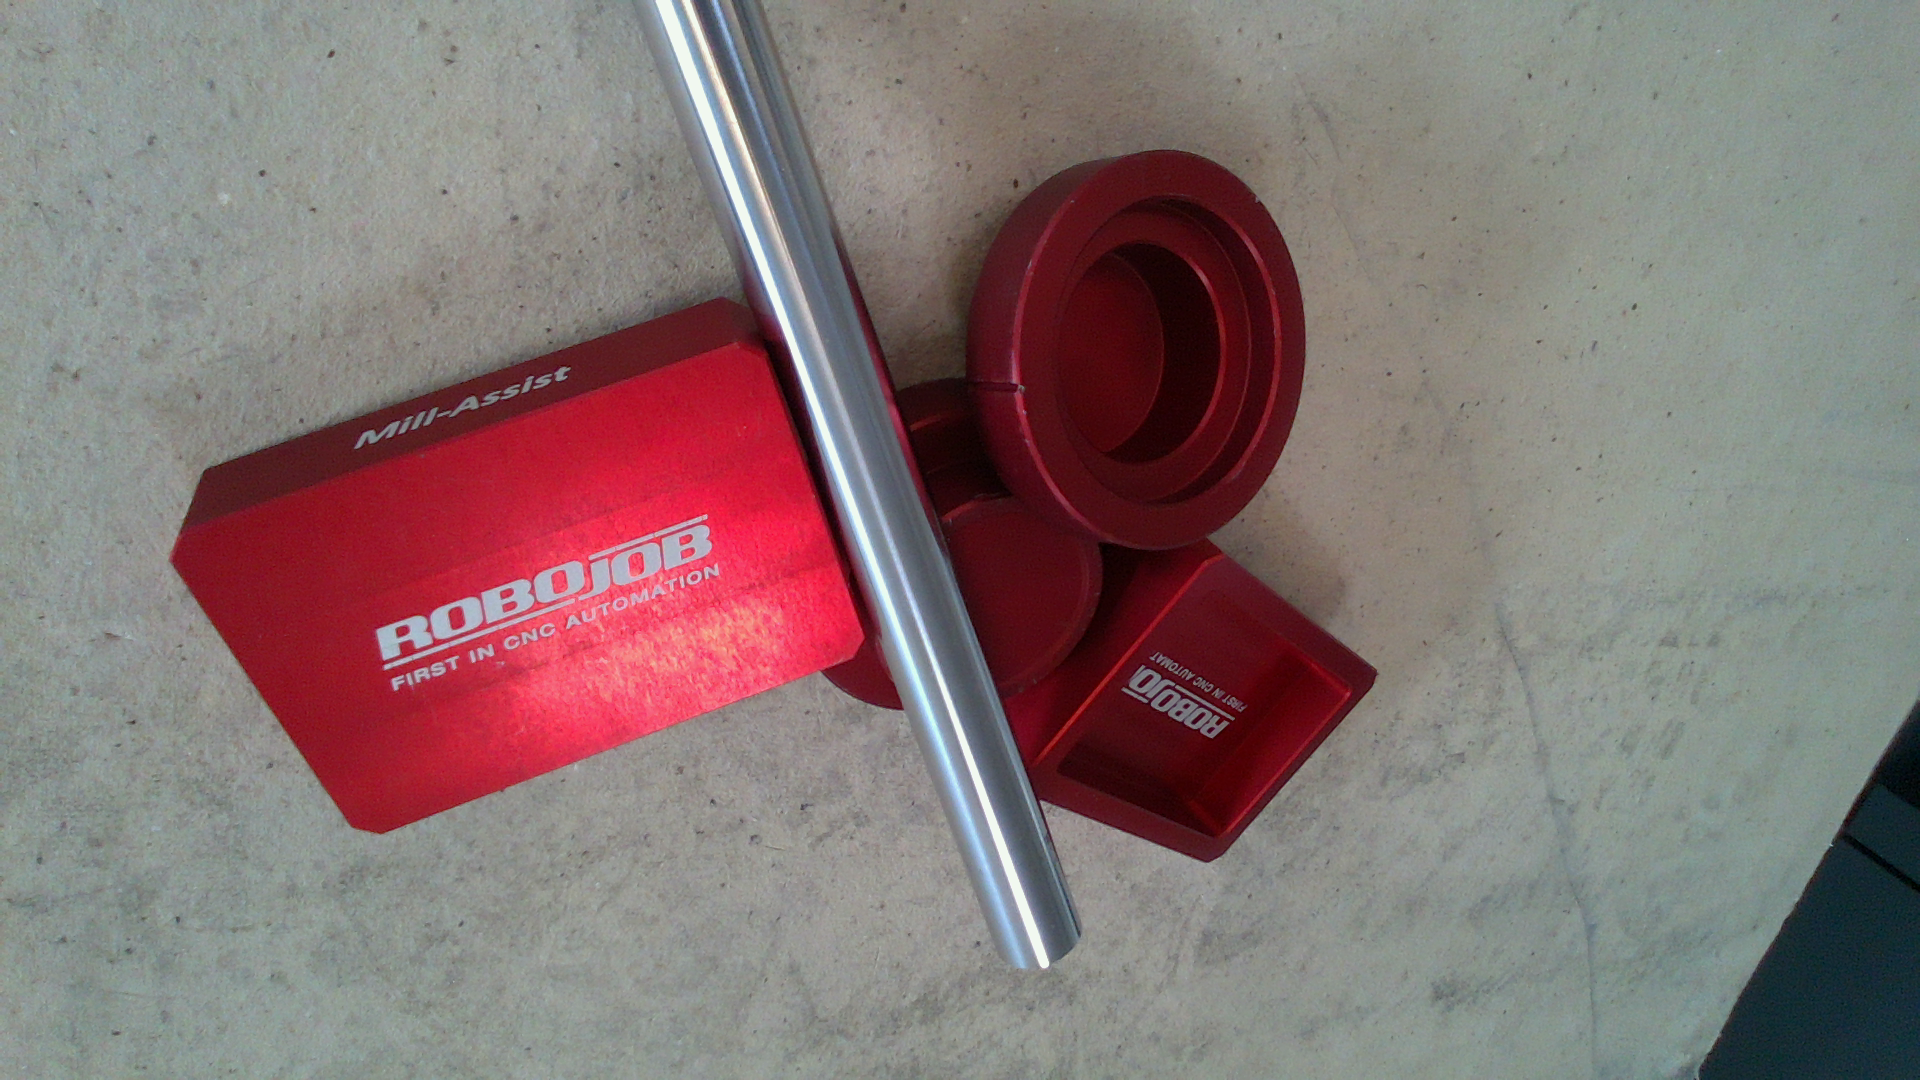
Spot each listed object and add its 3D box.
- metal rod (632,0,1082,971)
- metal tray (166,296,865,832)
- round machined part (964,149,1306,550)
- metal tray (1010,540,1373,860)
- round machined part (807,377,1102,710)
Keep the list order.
[{"bbox_3d":[-0.023,-0.020,0.322,0.025,0.025,0.300,-25,114,-13],"label":"metal rod"},{"bbox_3d":[-0.097,0.007,0.324,0.130,0.030,0.090,-20,124,-6],"label":"metal tray"},{"bbox_3d":[0.041,-0.048,0.357,0.098,0.042,0.098,-6,100,-34],"label":"round machined part"},{"bbox_3d":[0.072,0.050,0.442,0.090,0.030,0.130,-51,139,7],"label":"metal tray"},{"bbox_3d":[0.000,0.008,0.384,0.098,0.042,0.098,-14,124,-21],"label":"round machined part"}]
